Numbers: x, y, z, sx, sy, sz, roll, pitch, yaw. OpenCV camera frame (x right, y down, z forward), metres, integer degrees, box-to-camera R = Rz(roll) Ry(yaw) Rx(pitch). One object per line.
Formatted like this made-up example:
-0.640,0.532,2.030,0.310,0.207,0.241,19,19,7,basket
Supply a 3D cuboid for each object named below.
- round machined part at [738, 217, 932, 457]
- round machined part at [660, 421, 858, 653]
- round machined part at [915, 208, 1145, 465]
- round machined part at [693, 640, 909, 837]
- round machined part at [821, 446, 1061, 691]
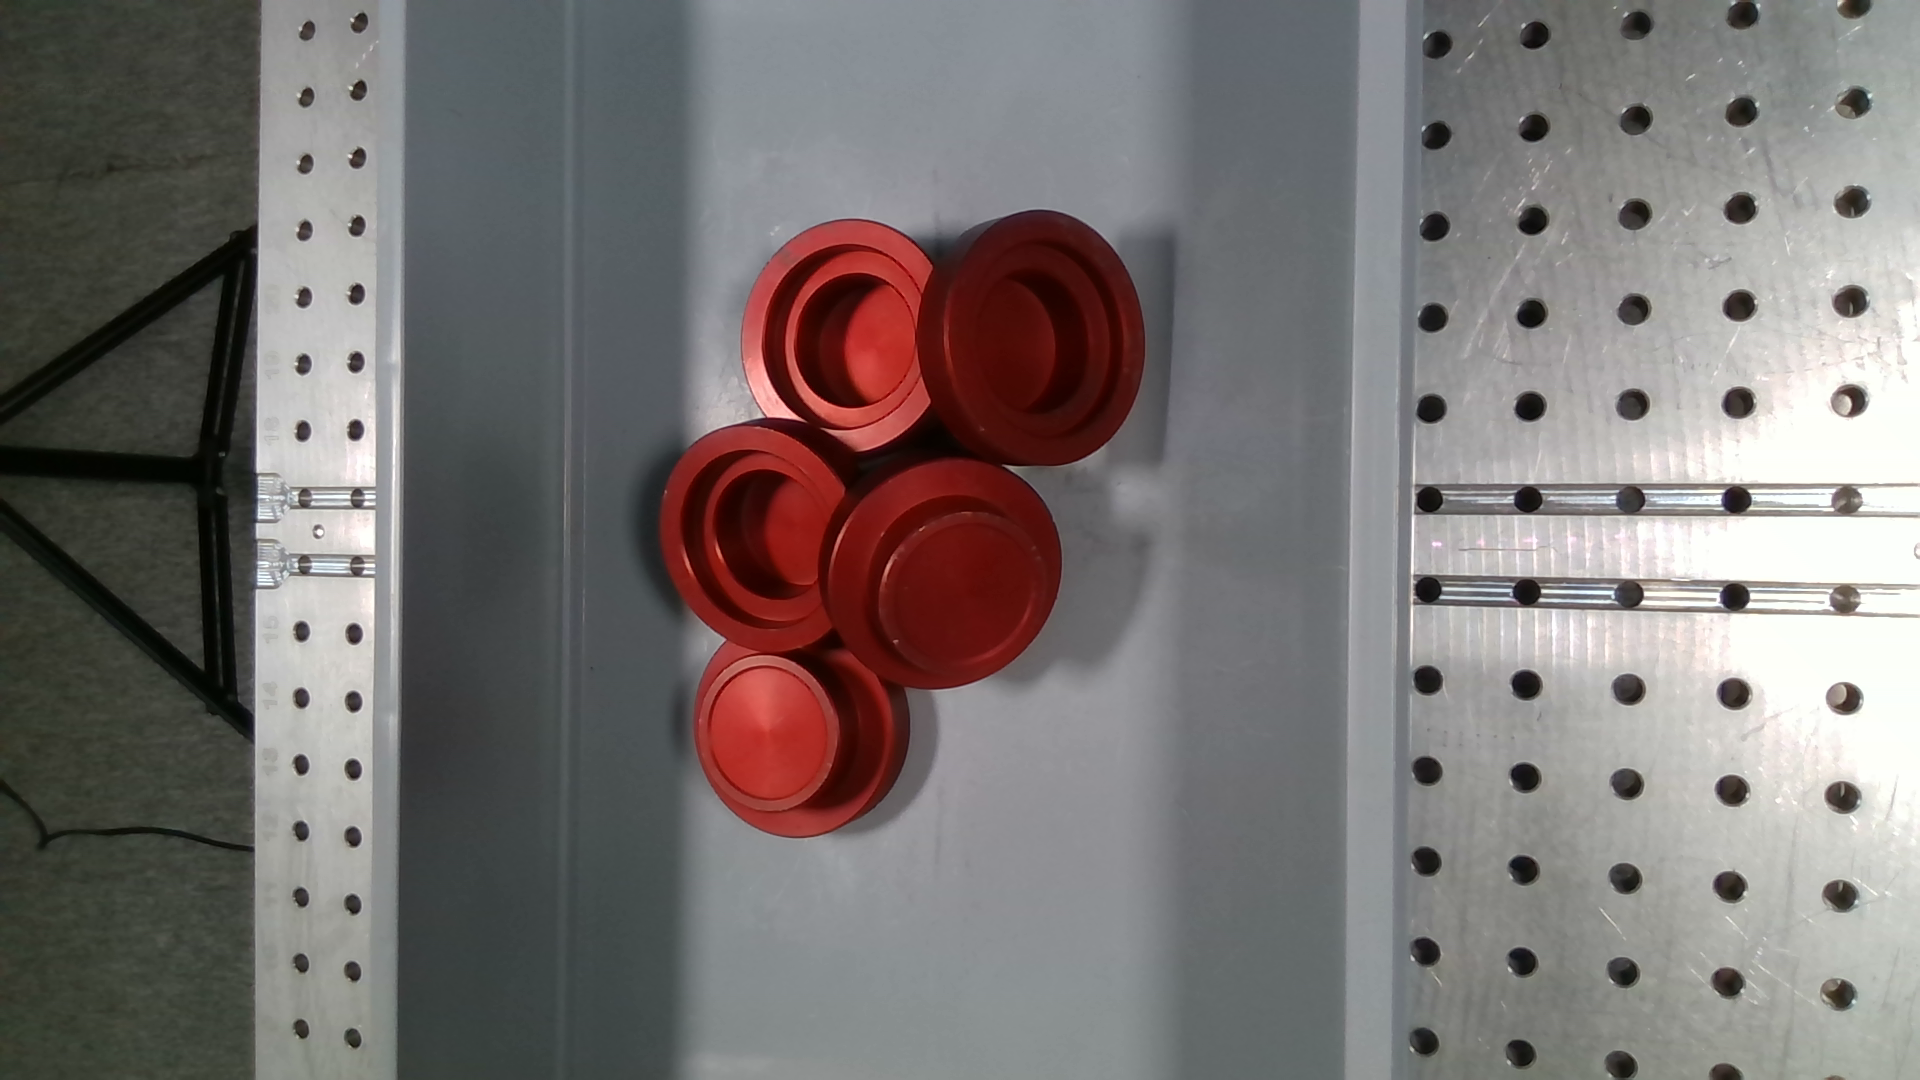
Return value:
-0.042,-0.085,0.589,0.098,0.042,0.098,0,91,20,round machined part
-0.077,-0.004,0.591,0.098,0.042,0.098,7,106,25,round machined part
0.023,-0.079,0.547,0.042,0.098,0.098,4,92,56,round machined part
-0.075,0.081,0.603,0.098,0.042,0.098,0,91,20,round machined part
-0.005,0.015,0.548,0.098,0.042,0.098,-6,109,-17,round machined part
